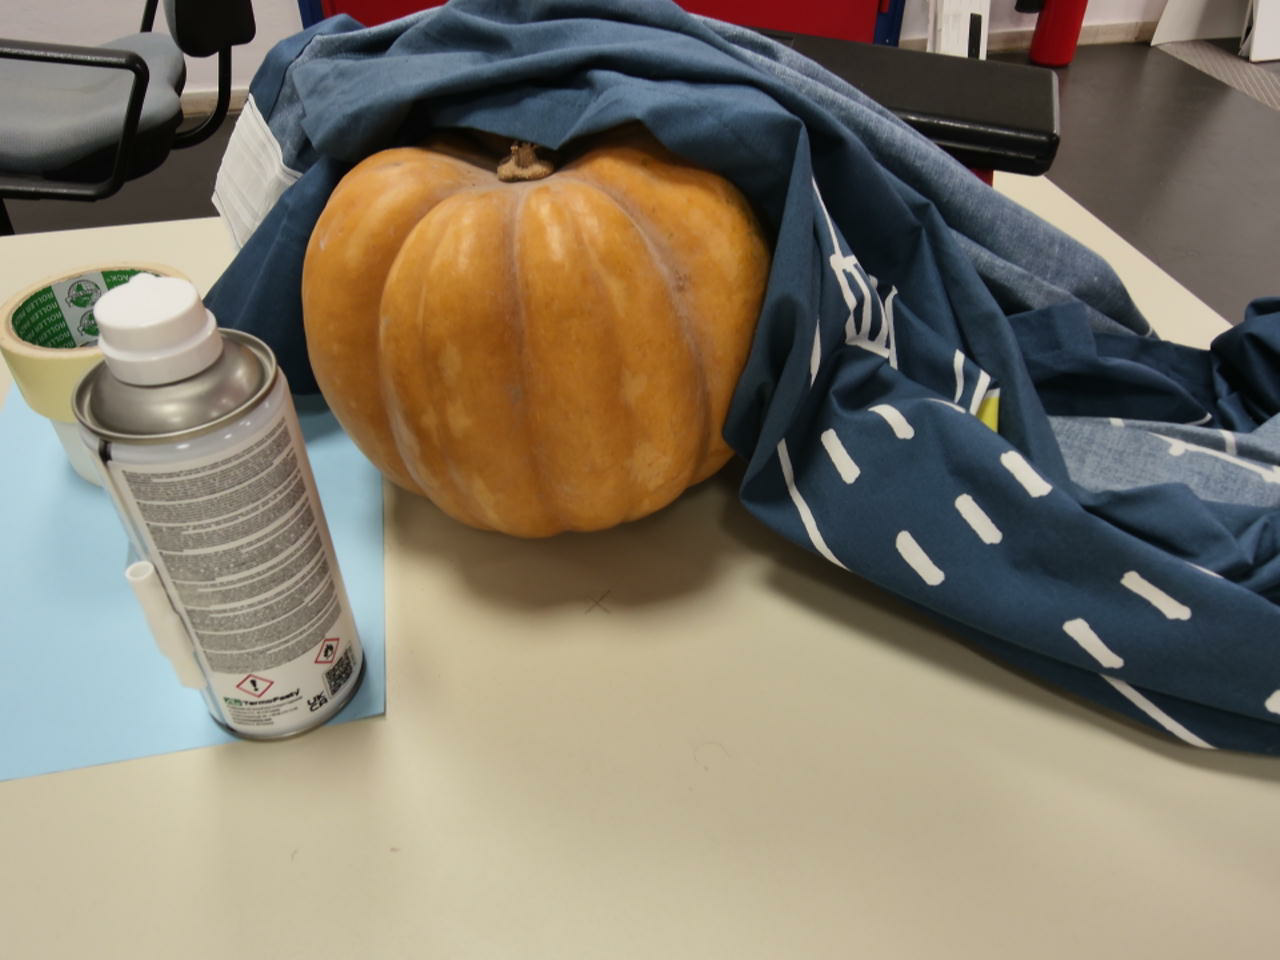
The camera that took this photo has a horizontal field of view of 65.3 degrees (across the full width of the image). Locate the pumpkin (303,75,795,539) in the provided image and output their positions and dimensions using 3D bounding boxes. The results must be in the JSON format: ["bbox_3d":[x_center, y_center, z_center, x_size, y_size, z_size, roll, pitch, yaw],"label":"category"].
[{"bbox_3d":[-0.038,-0.080,0.478,0.230,0.194,0.230,0,39,0],"label":"pumpkin"}]
